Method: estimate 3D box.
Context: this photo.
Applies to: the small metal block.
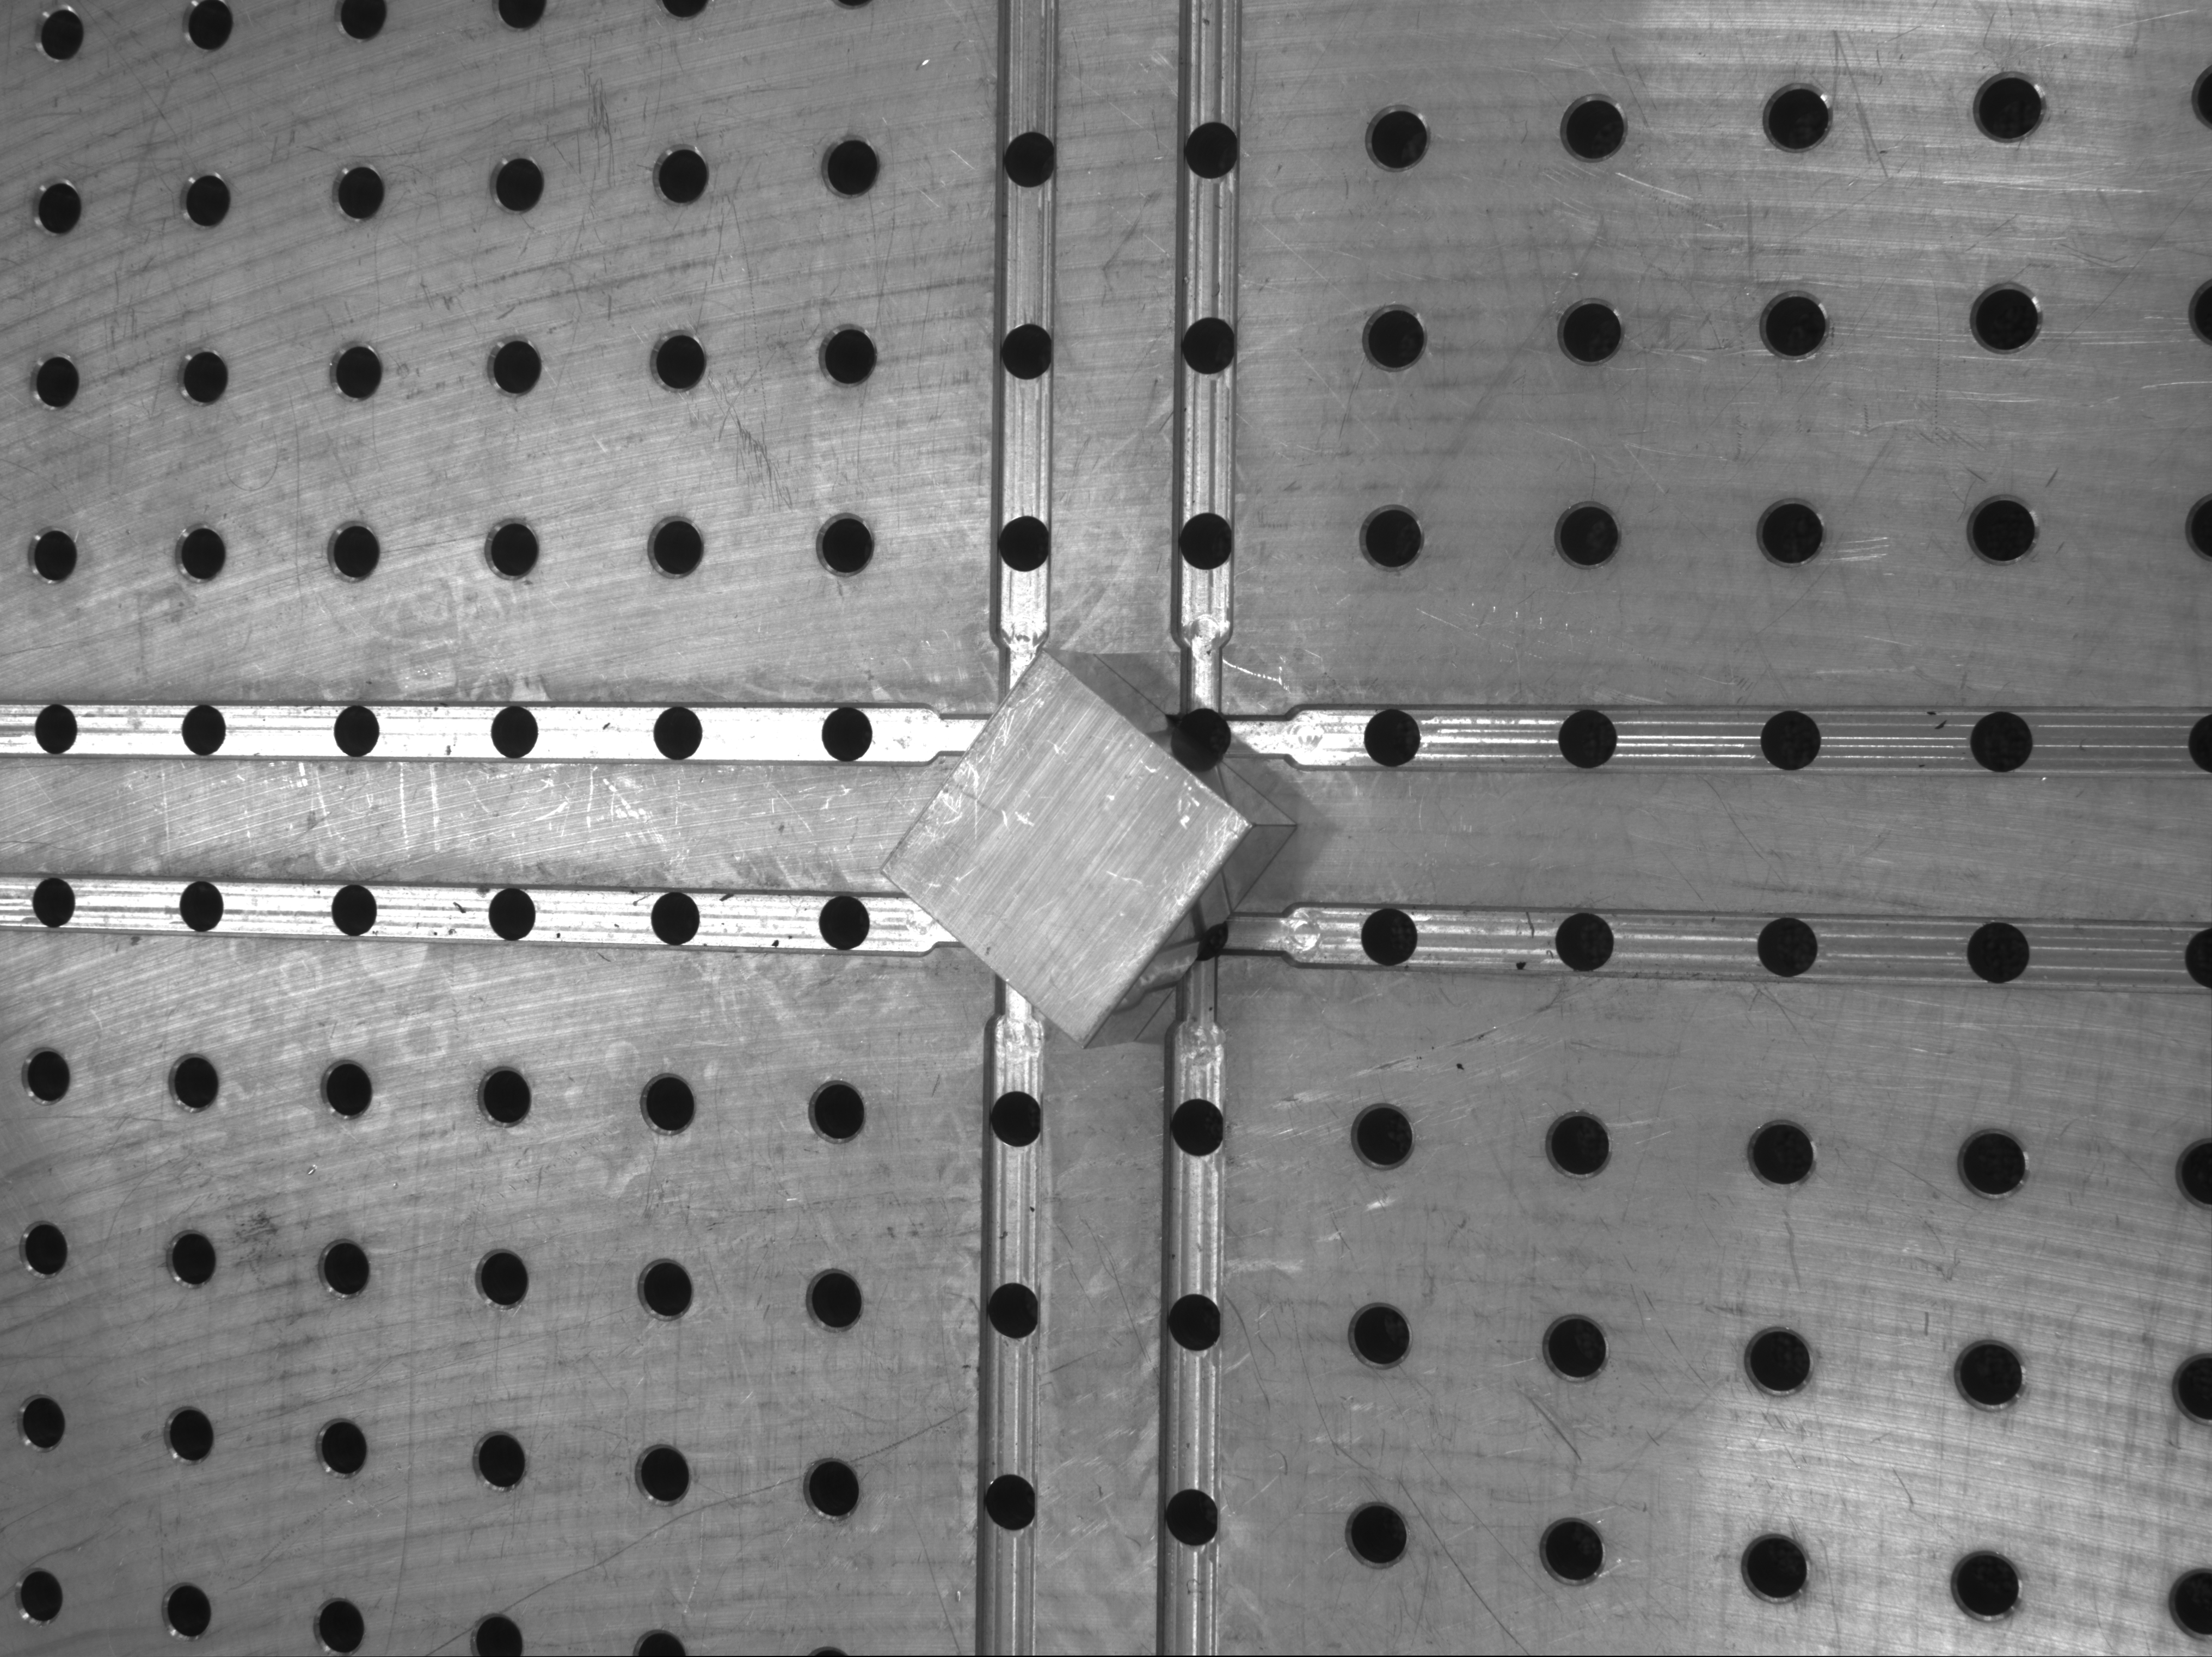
[{"bbox_3d":[-0.004,0.003,0.651,0.050,0.025,0.050,40,103,15],"label":"small metal block"}]
